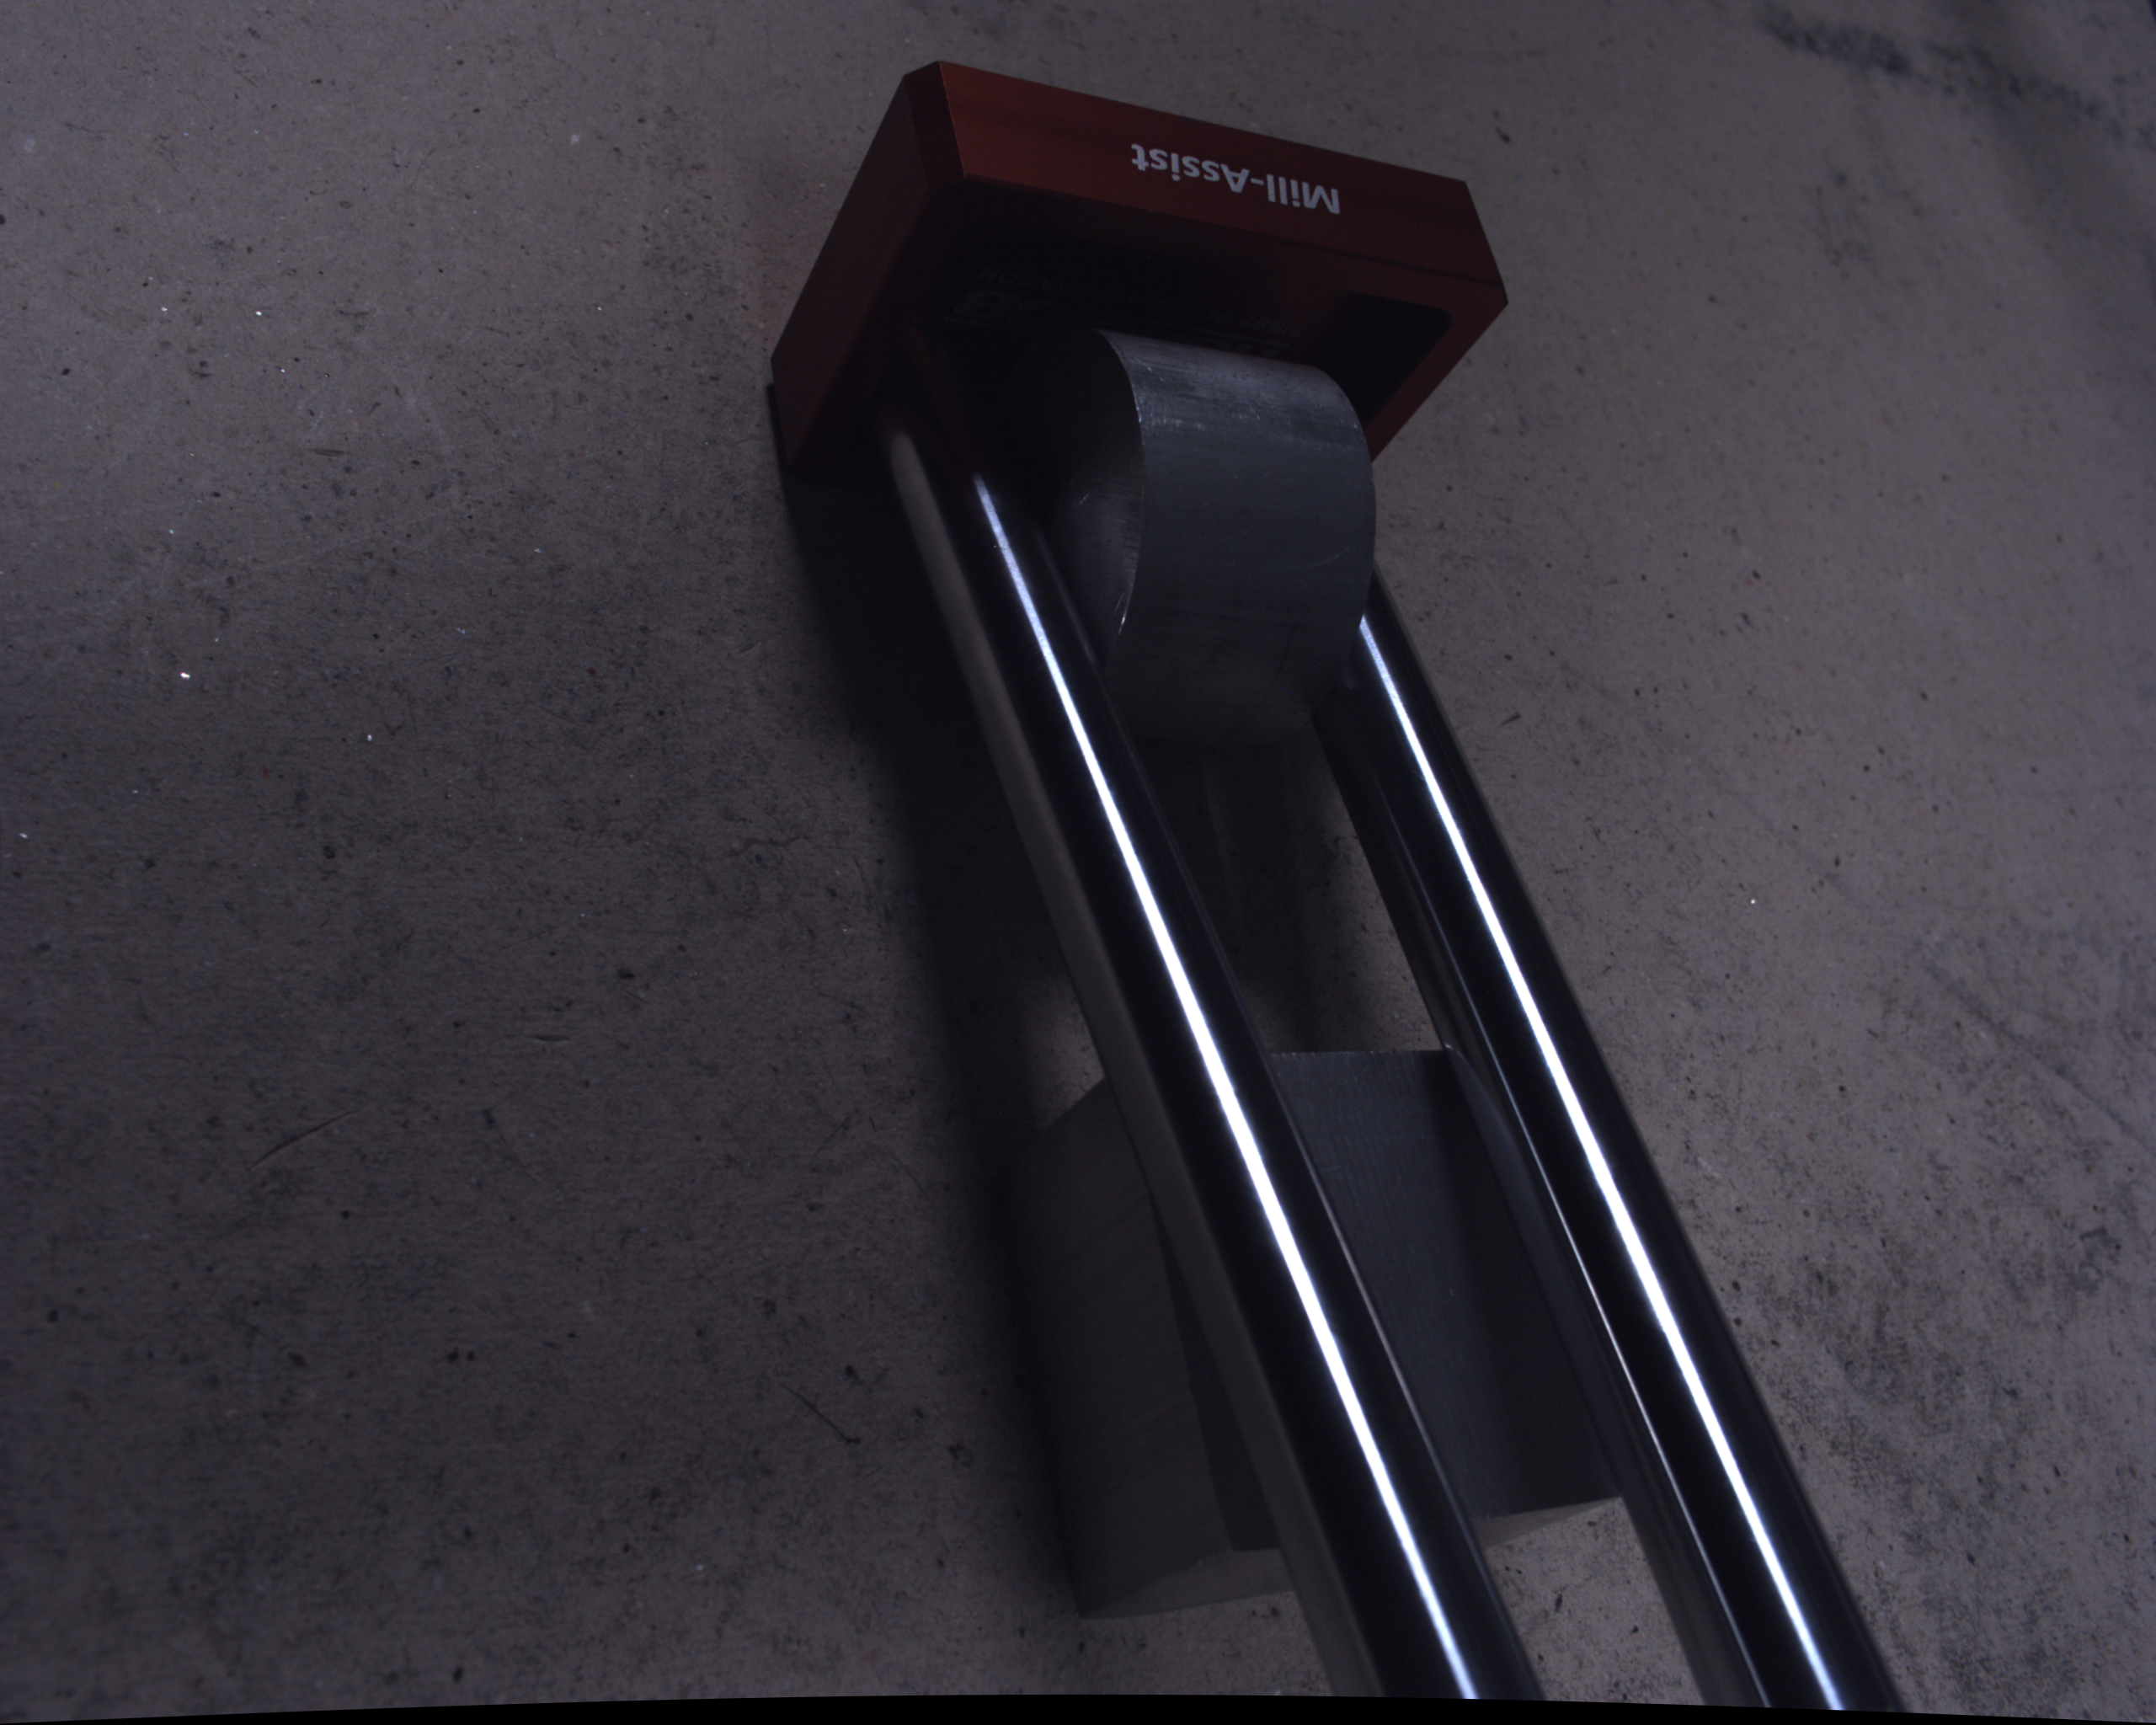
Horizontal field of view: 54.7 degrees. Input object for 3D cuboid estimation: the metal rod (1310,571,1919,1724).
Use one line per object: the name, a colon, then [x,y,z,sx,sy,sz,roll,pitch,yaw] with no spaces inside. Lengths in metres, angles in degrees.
metal rod: [0.070,0.011,0.378,0.025,0.025,0.300,8,43,-24]

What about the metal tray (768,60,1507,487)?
metal tray: [0.011,-0.112,0.439,0.131,0.090,0.030,2,61,-28]

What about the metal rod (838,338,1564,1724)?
metal rod: [0.007,0.009,0.346,0.025,0.025,0.300,2,46,-28]

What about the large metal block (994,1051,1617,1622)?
large metal block: [0.039,0.080,0.361,0.081,0.050,0.080,2,61,-28]

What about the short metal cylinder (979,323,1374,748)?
short metal cylinder: [0.015,-0.064,0.419,0.050,0.080,0.080,2,61,-28]
